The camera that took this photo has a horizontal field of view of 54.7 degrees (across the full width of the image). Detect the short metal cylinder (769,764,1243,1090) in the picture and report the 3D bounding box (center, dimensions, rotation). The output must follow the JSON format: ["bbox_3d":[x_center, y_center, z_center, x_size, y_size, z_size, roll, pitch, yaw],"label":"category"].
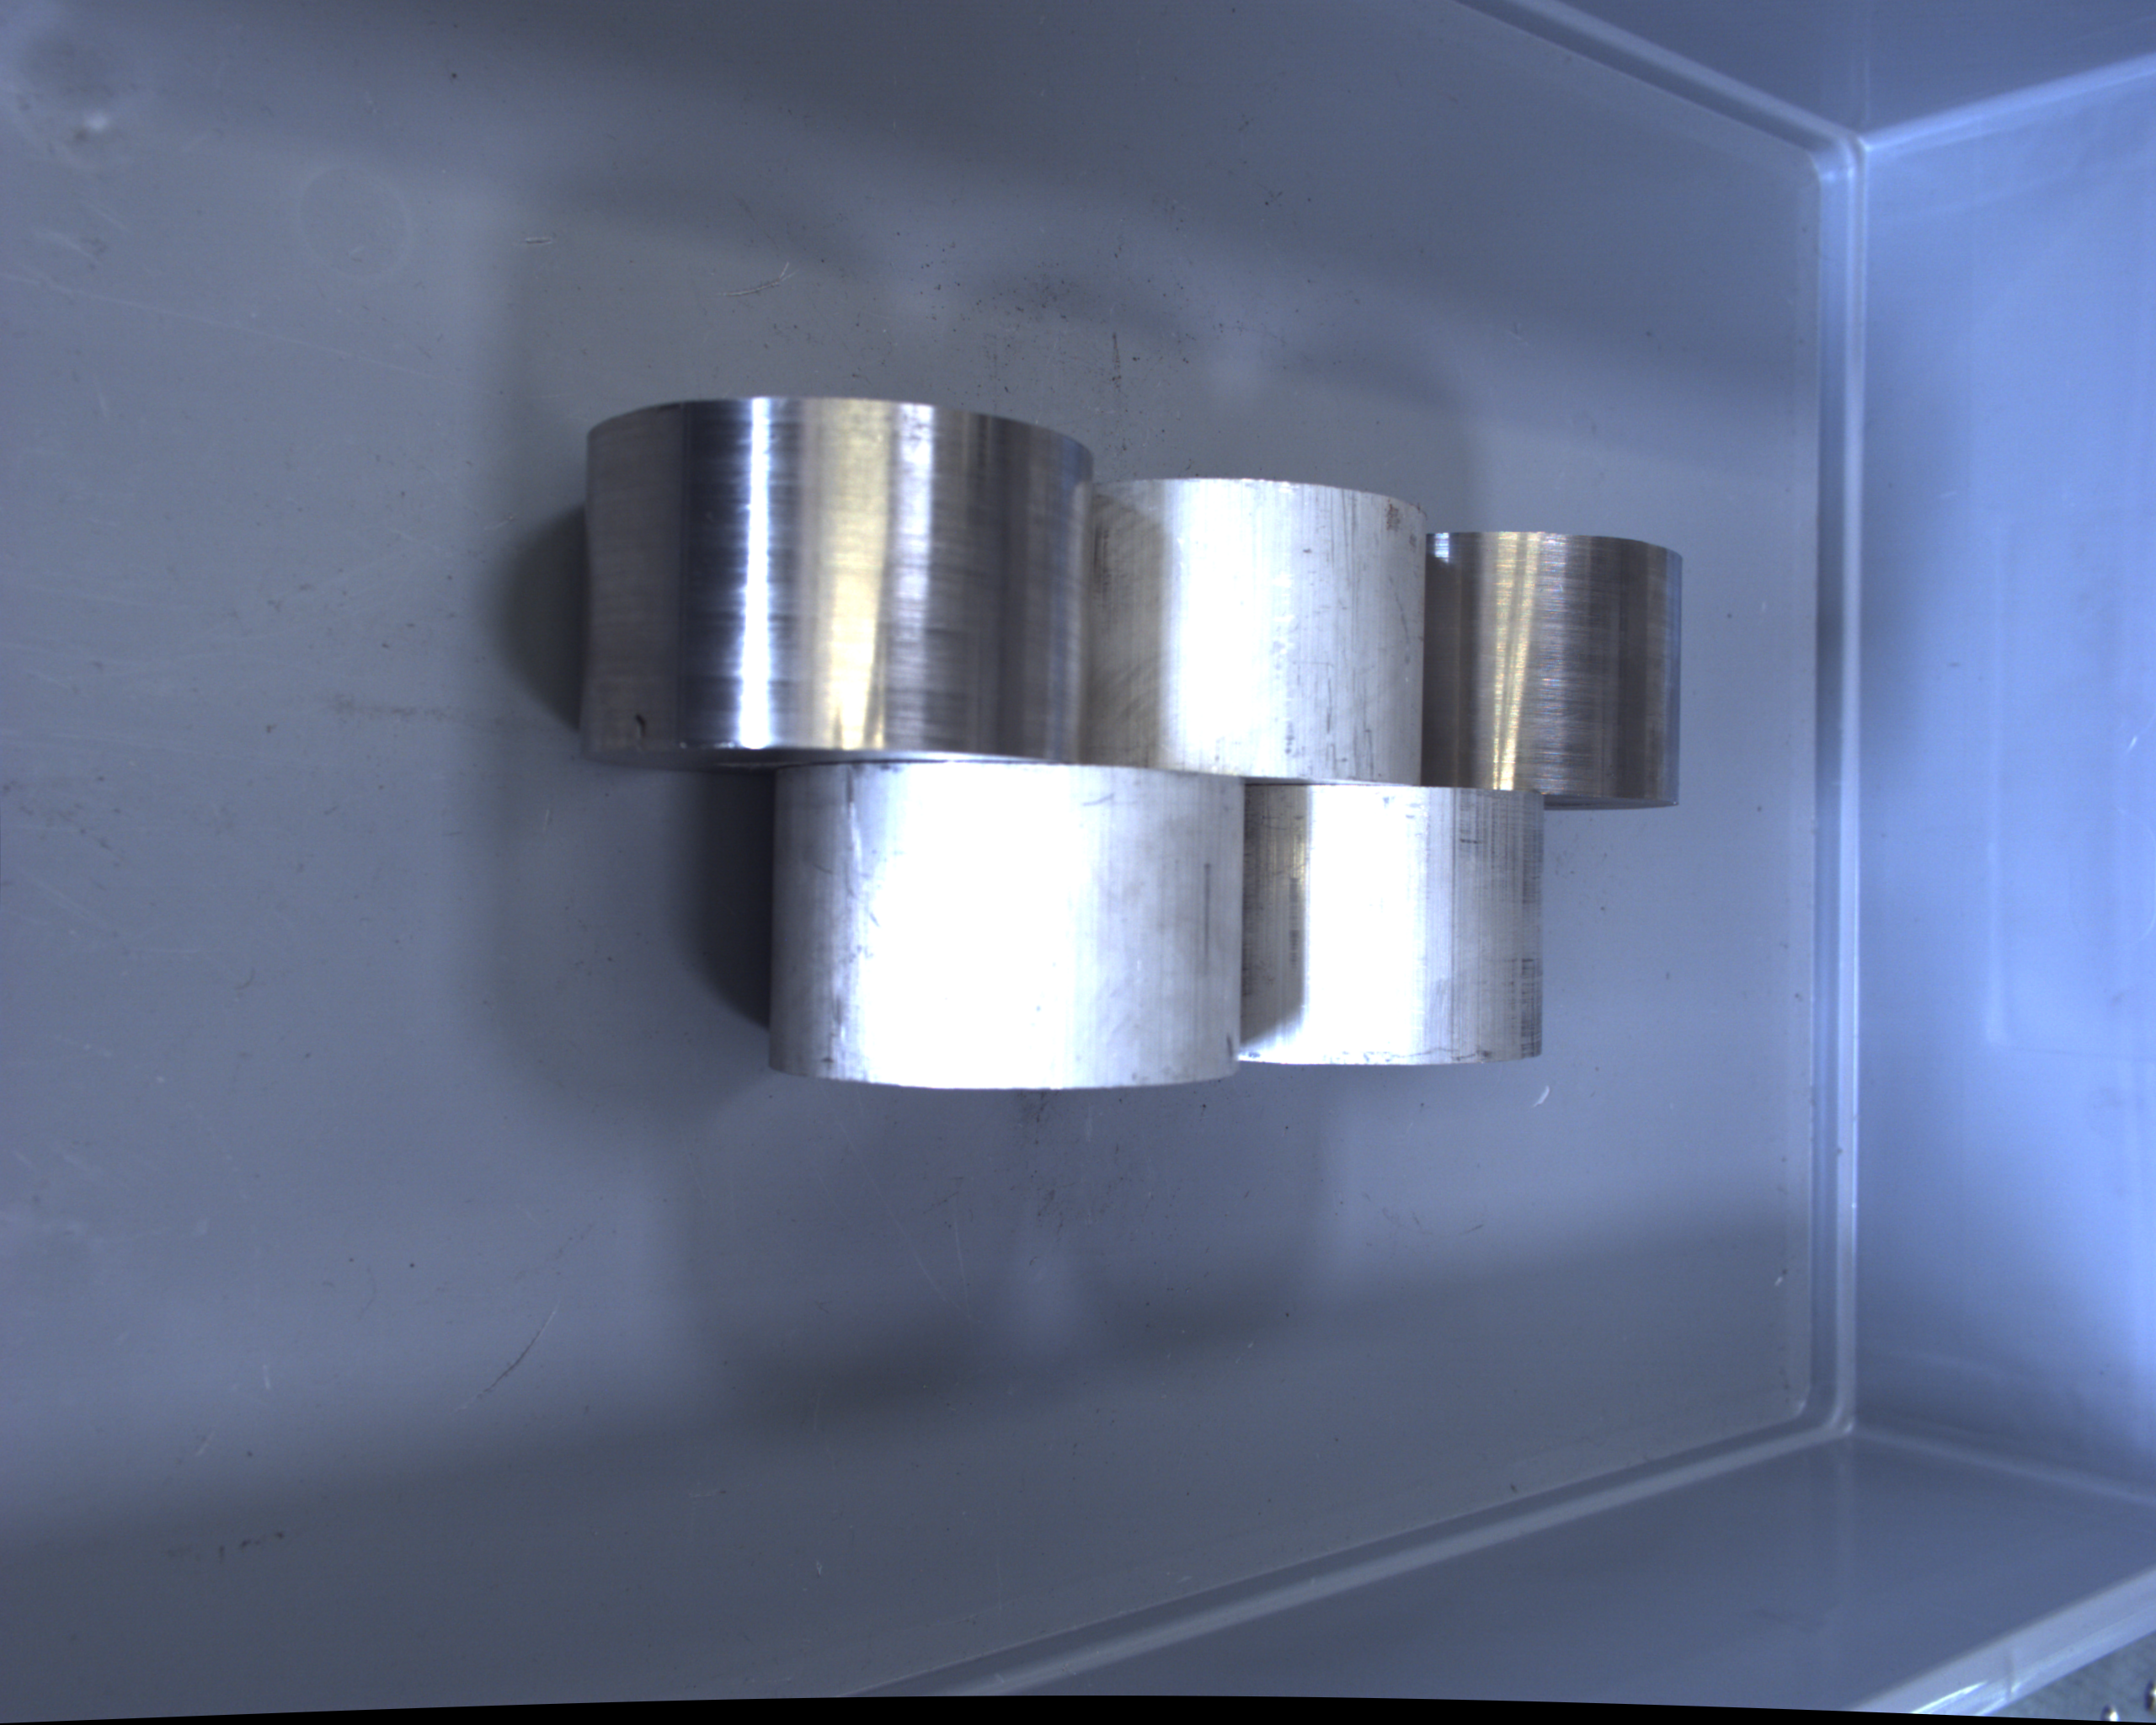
[{"bbox_3d":[-0.012,0.010,0.358,0.081,0.080,0.050,1,90,-40],"label":"short metal cylinder"}]

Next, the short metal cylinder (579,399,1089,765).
[{"bbox_3d":[-0.039,-0.041,0.336,0.081,0.080,0.050,1,90,-40],"label":"short metal cylinder"}]

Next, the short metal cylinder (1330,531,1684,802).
[{"bbox_3d":[0.086,-0.038,0.440,0.081,0.080,0.050,2,89,-40],"label":"short metal cylinder"}]

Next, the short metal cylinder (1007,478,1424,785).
[{"bbox_3d":[0.024,-0.039,0.388,0.081,0.080,0.050,1,90,-40],"label":"short metal cylinder"}]

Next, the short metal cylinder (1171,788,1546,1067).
[{"bbox_3d":[0.051,0.012,0.411,0.081,0.080,0.050,1,90,-40],"label":"short metal cylinder"}]
